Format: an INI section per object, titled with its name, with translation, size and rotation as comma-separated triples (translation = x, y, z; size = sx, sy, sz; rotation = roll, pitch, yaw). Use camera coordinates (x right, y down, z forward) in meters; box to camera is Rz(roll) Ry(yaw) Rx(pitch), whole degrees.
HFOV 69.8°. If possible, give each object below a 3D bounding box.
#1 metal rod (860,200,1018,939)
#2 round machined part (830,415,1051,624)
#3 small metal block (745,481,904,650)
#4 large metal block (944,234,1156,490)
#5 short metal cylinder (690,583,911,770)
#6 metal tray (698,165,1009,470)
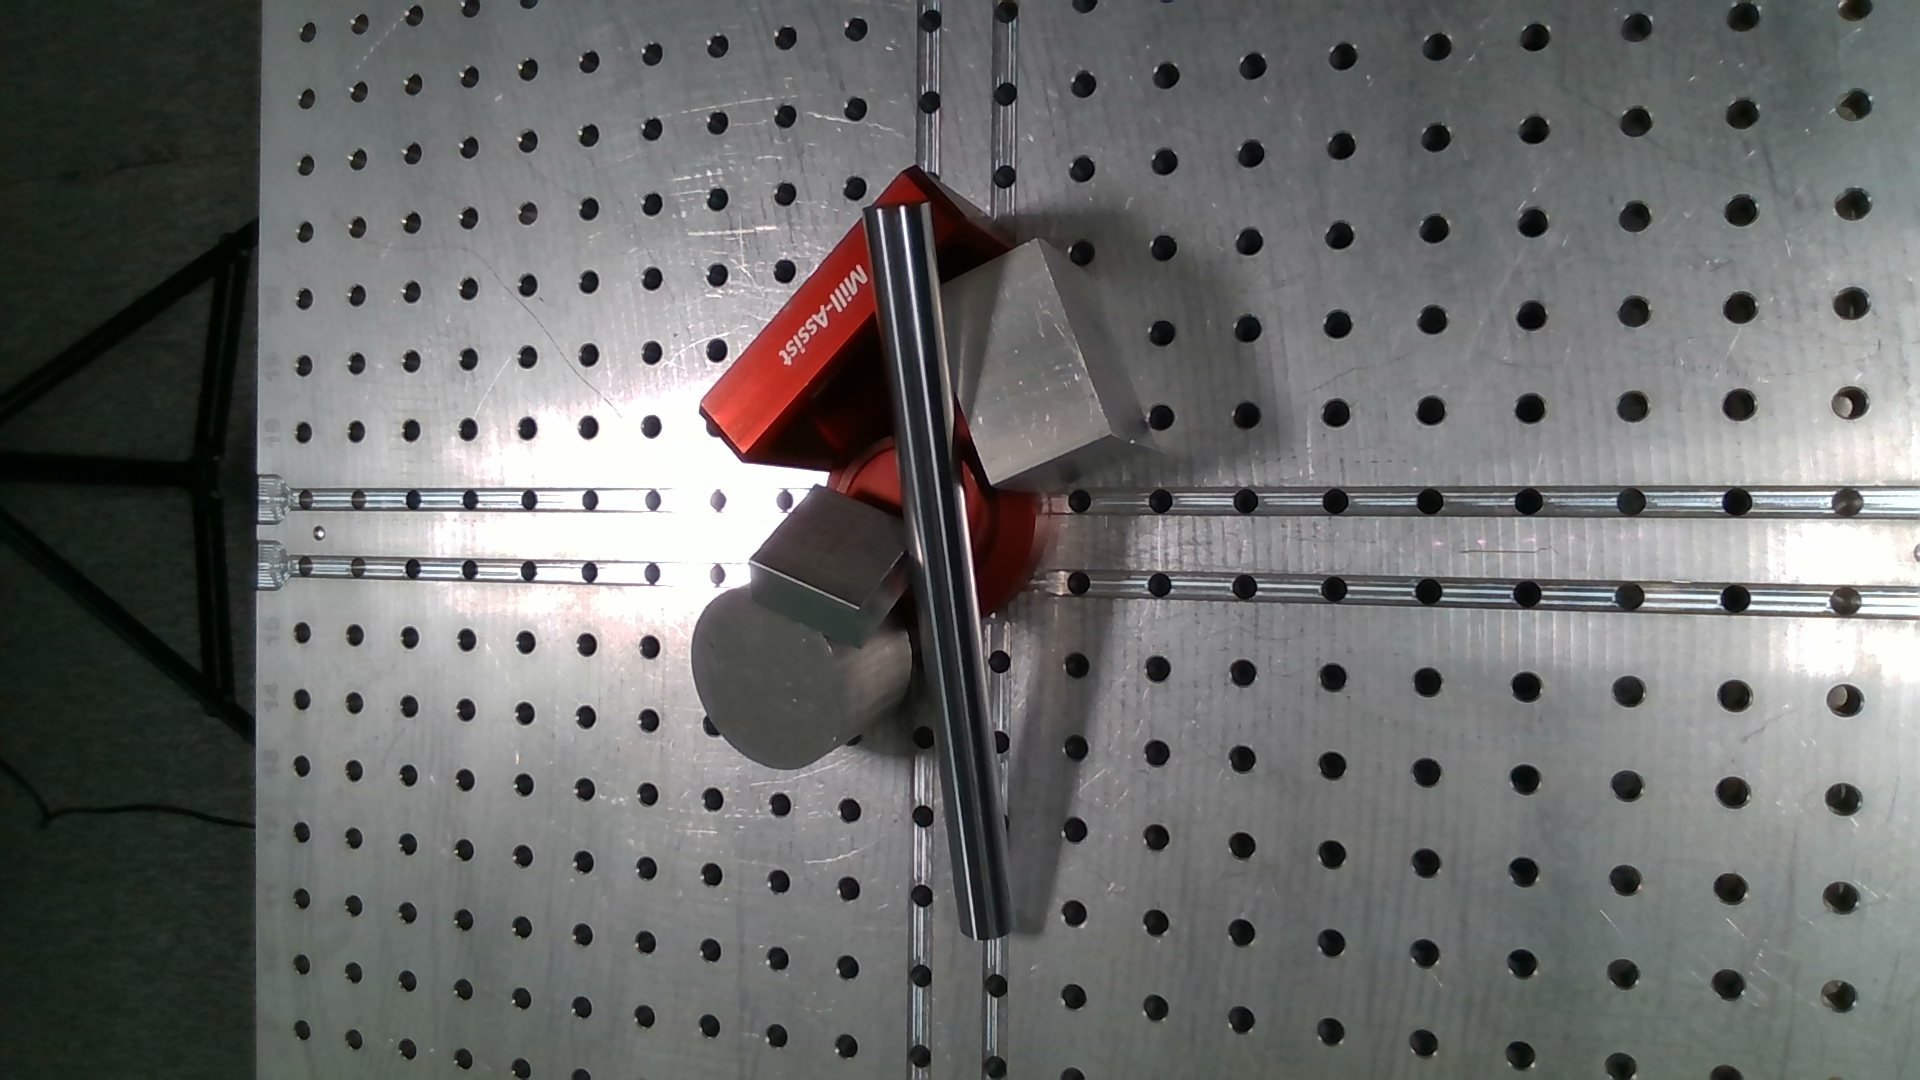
[metal rod]
translation = -0.006, 0.022, 0.540
size = 0.025, 0.025, 0.301
rotation = 0, 110, 20
[round machined part]
translation = -0.014, -0.011, 0.587
size = 0.098, 0.042, 0.098
rotation = 0, 91, 20
[small metal block]
translation = -0.049, 0.009, 0.547
size = 0.050, 0.050, 0.025
rotation = 22, 140, 17
[large metal block]
translation = 0.033, -0.066, 0.544
size = 0.050, 0.080, 0.080
rotation = -23, 83, 19
[short metal cylinder]
translation = -0.068, 0.051, 0.588
size = 0.080, 0.050, 0.080
rotation = 11, 111, 30
[metal tray]
translation = -0.038, -0.085, 0.566
size = 0.130, 0.090, 0.030
rotation = -45, 76, 15
